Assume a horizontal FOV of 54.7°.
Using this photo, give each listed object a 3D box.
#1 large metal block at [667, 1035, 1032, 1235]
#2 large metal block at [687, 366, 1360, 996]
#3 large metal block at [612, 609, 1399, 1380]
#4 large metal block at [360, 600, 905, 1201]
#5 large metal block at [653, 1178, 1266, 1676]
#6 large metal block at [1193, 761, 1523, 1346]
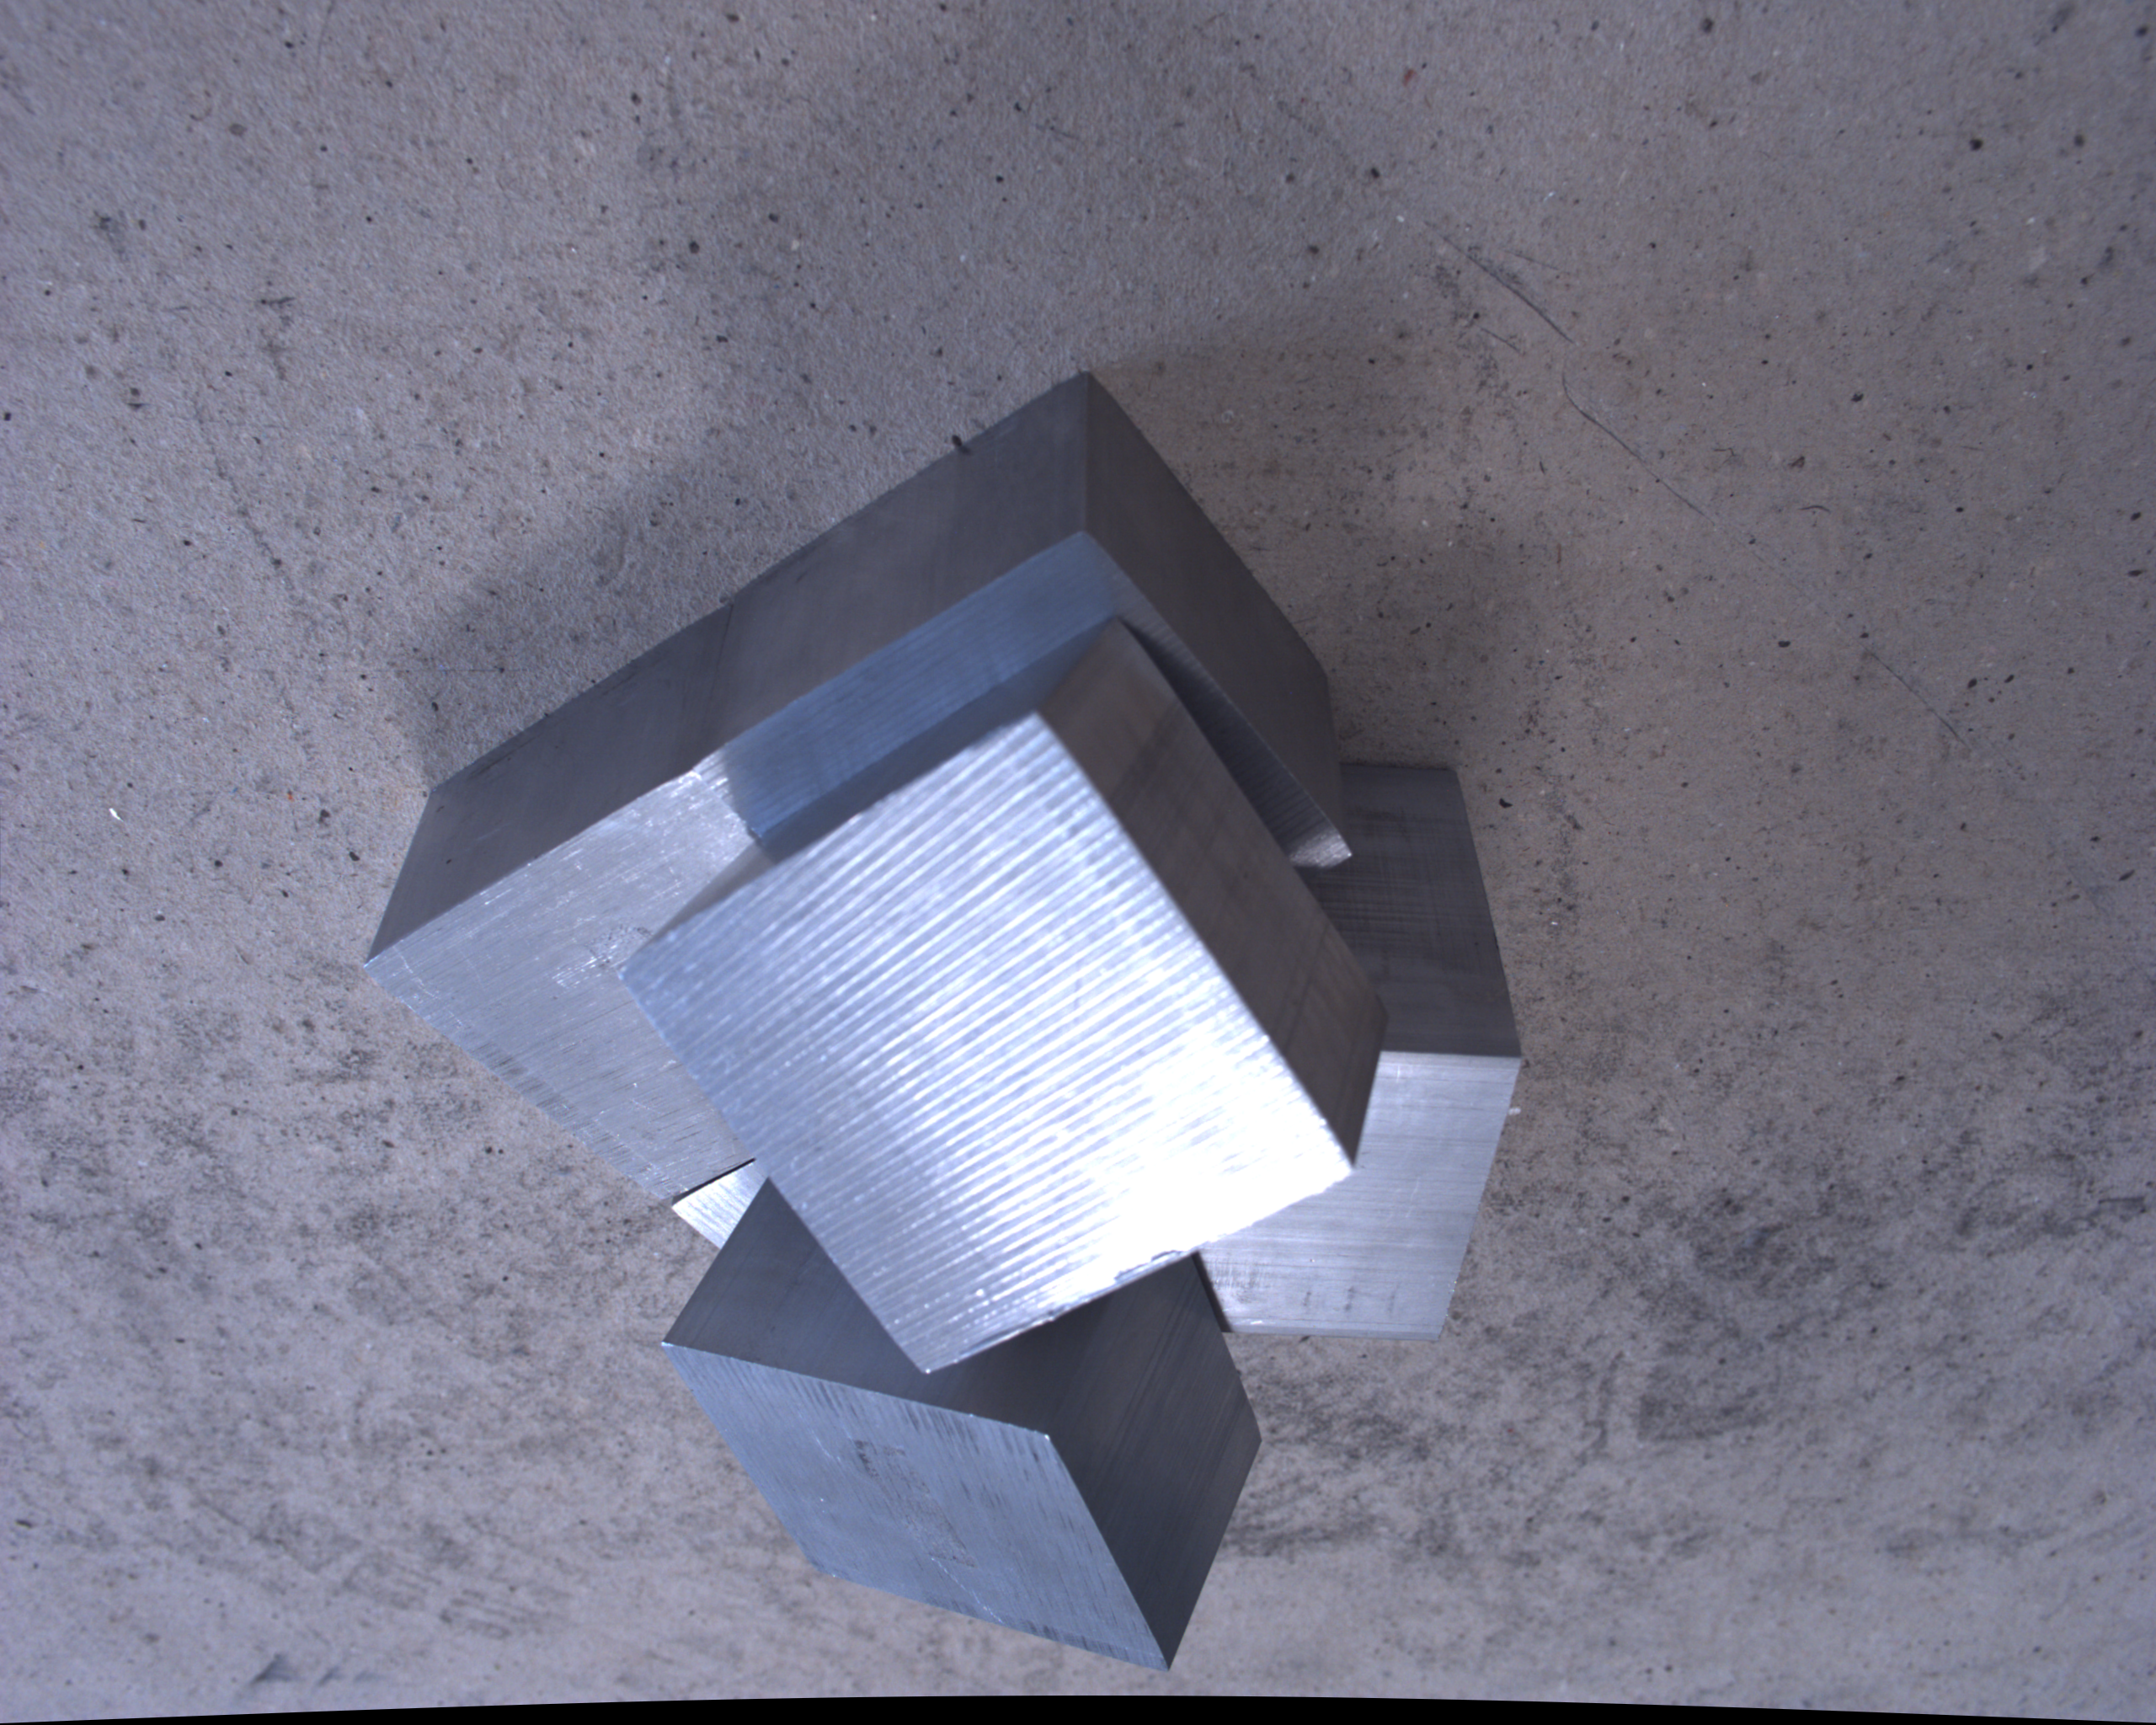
[{"bbox_3d":[-0.026,0.058,0.443,0.080,0.050,0.080,-29,125,22],"label":"large metal block"},{"bbox_3d":[-0.008,-0.025,0.369,0.080,0.050,0.080,-29,124,21],"label":"large metal block"},{"bbox_3d":[-0.008,0.020,0.323,0.080,0.050,0.080,-31,101,23],"label":"large metal block"},{"bbox_3d":[-0.073,0.010,0.401,0.080,0.050,0.080,-29,125,22],"label":"large metal block"},{"bbox_3d":[-0.019,0.101,0.393,0.080,0.050,0.080,5,136,28],"label":"large metal block"},{"bbox_3d":[0.047,0.036,0.404,0.050,0.080,0.079,3,130,-2],"label":"large metal block"}]
